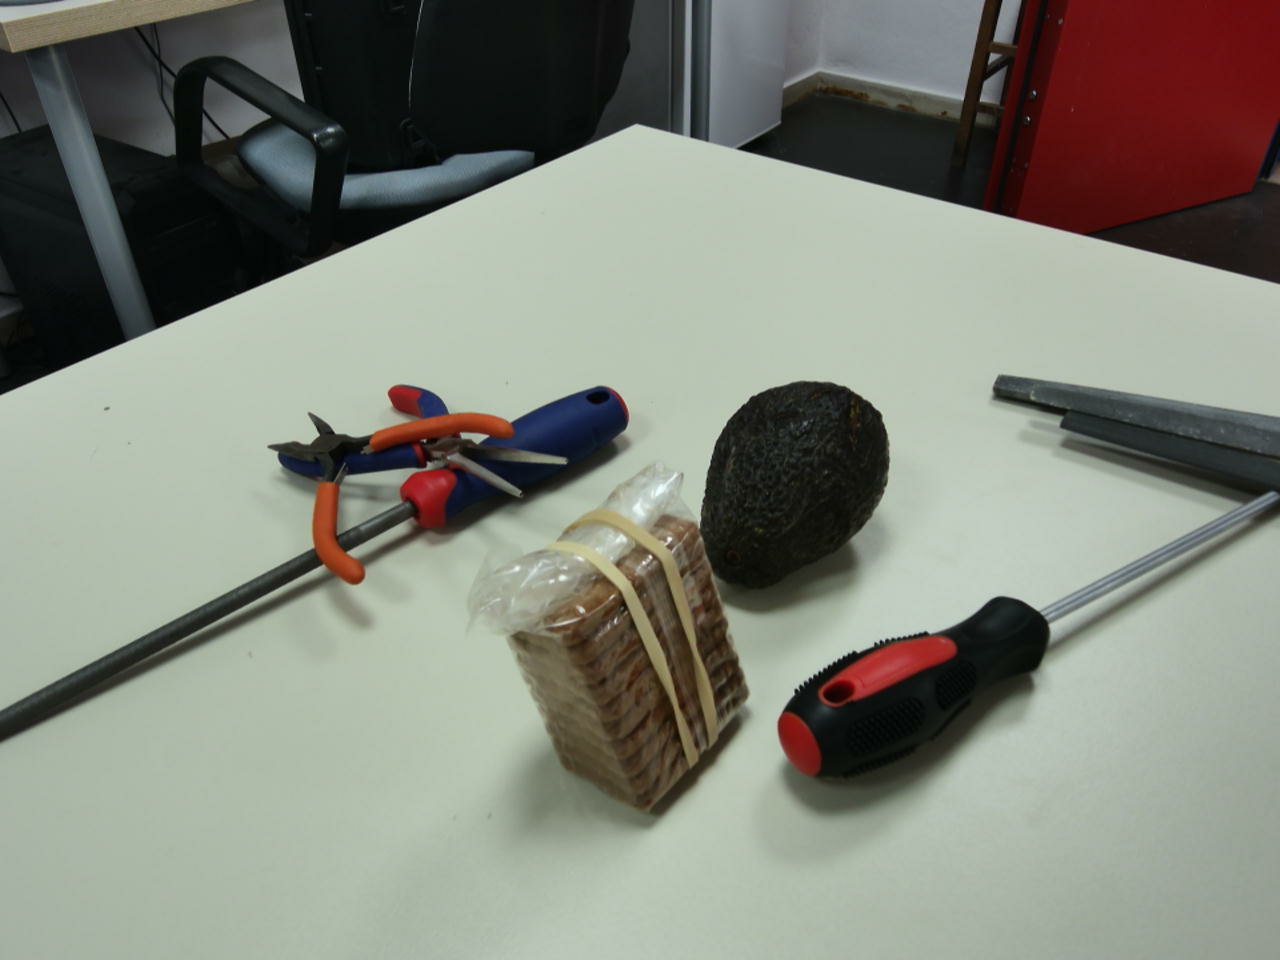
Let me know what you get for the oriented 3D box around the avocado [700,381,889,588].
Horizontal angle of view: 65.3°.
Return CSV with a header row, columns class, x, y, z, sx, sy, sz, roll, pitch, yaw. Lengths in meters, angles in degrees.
class,x,y,z,sx,sy,sz,roll,pitch,yaw
avocado,0.061,-0.003,0.409,0.090,0.069,0.070,-16,39,-19
